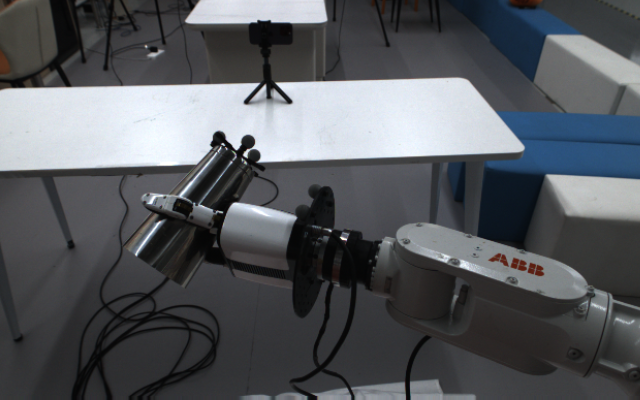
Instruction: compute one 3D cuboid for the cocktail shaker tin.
[{"bbox_3d":[-0.159,0.012,0.616,0.093,0.093,0.170,24,70,28],"label":"cocktail shaker tin"}]
